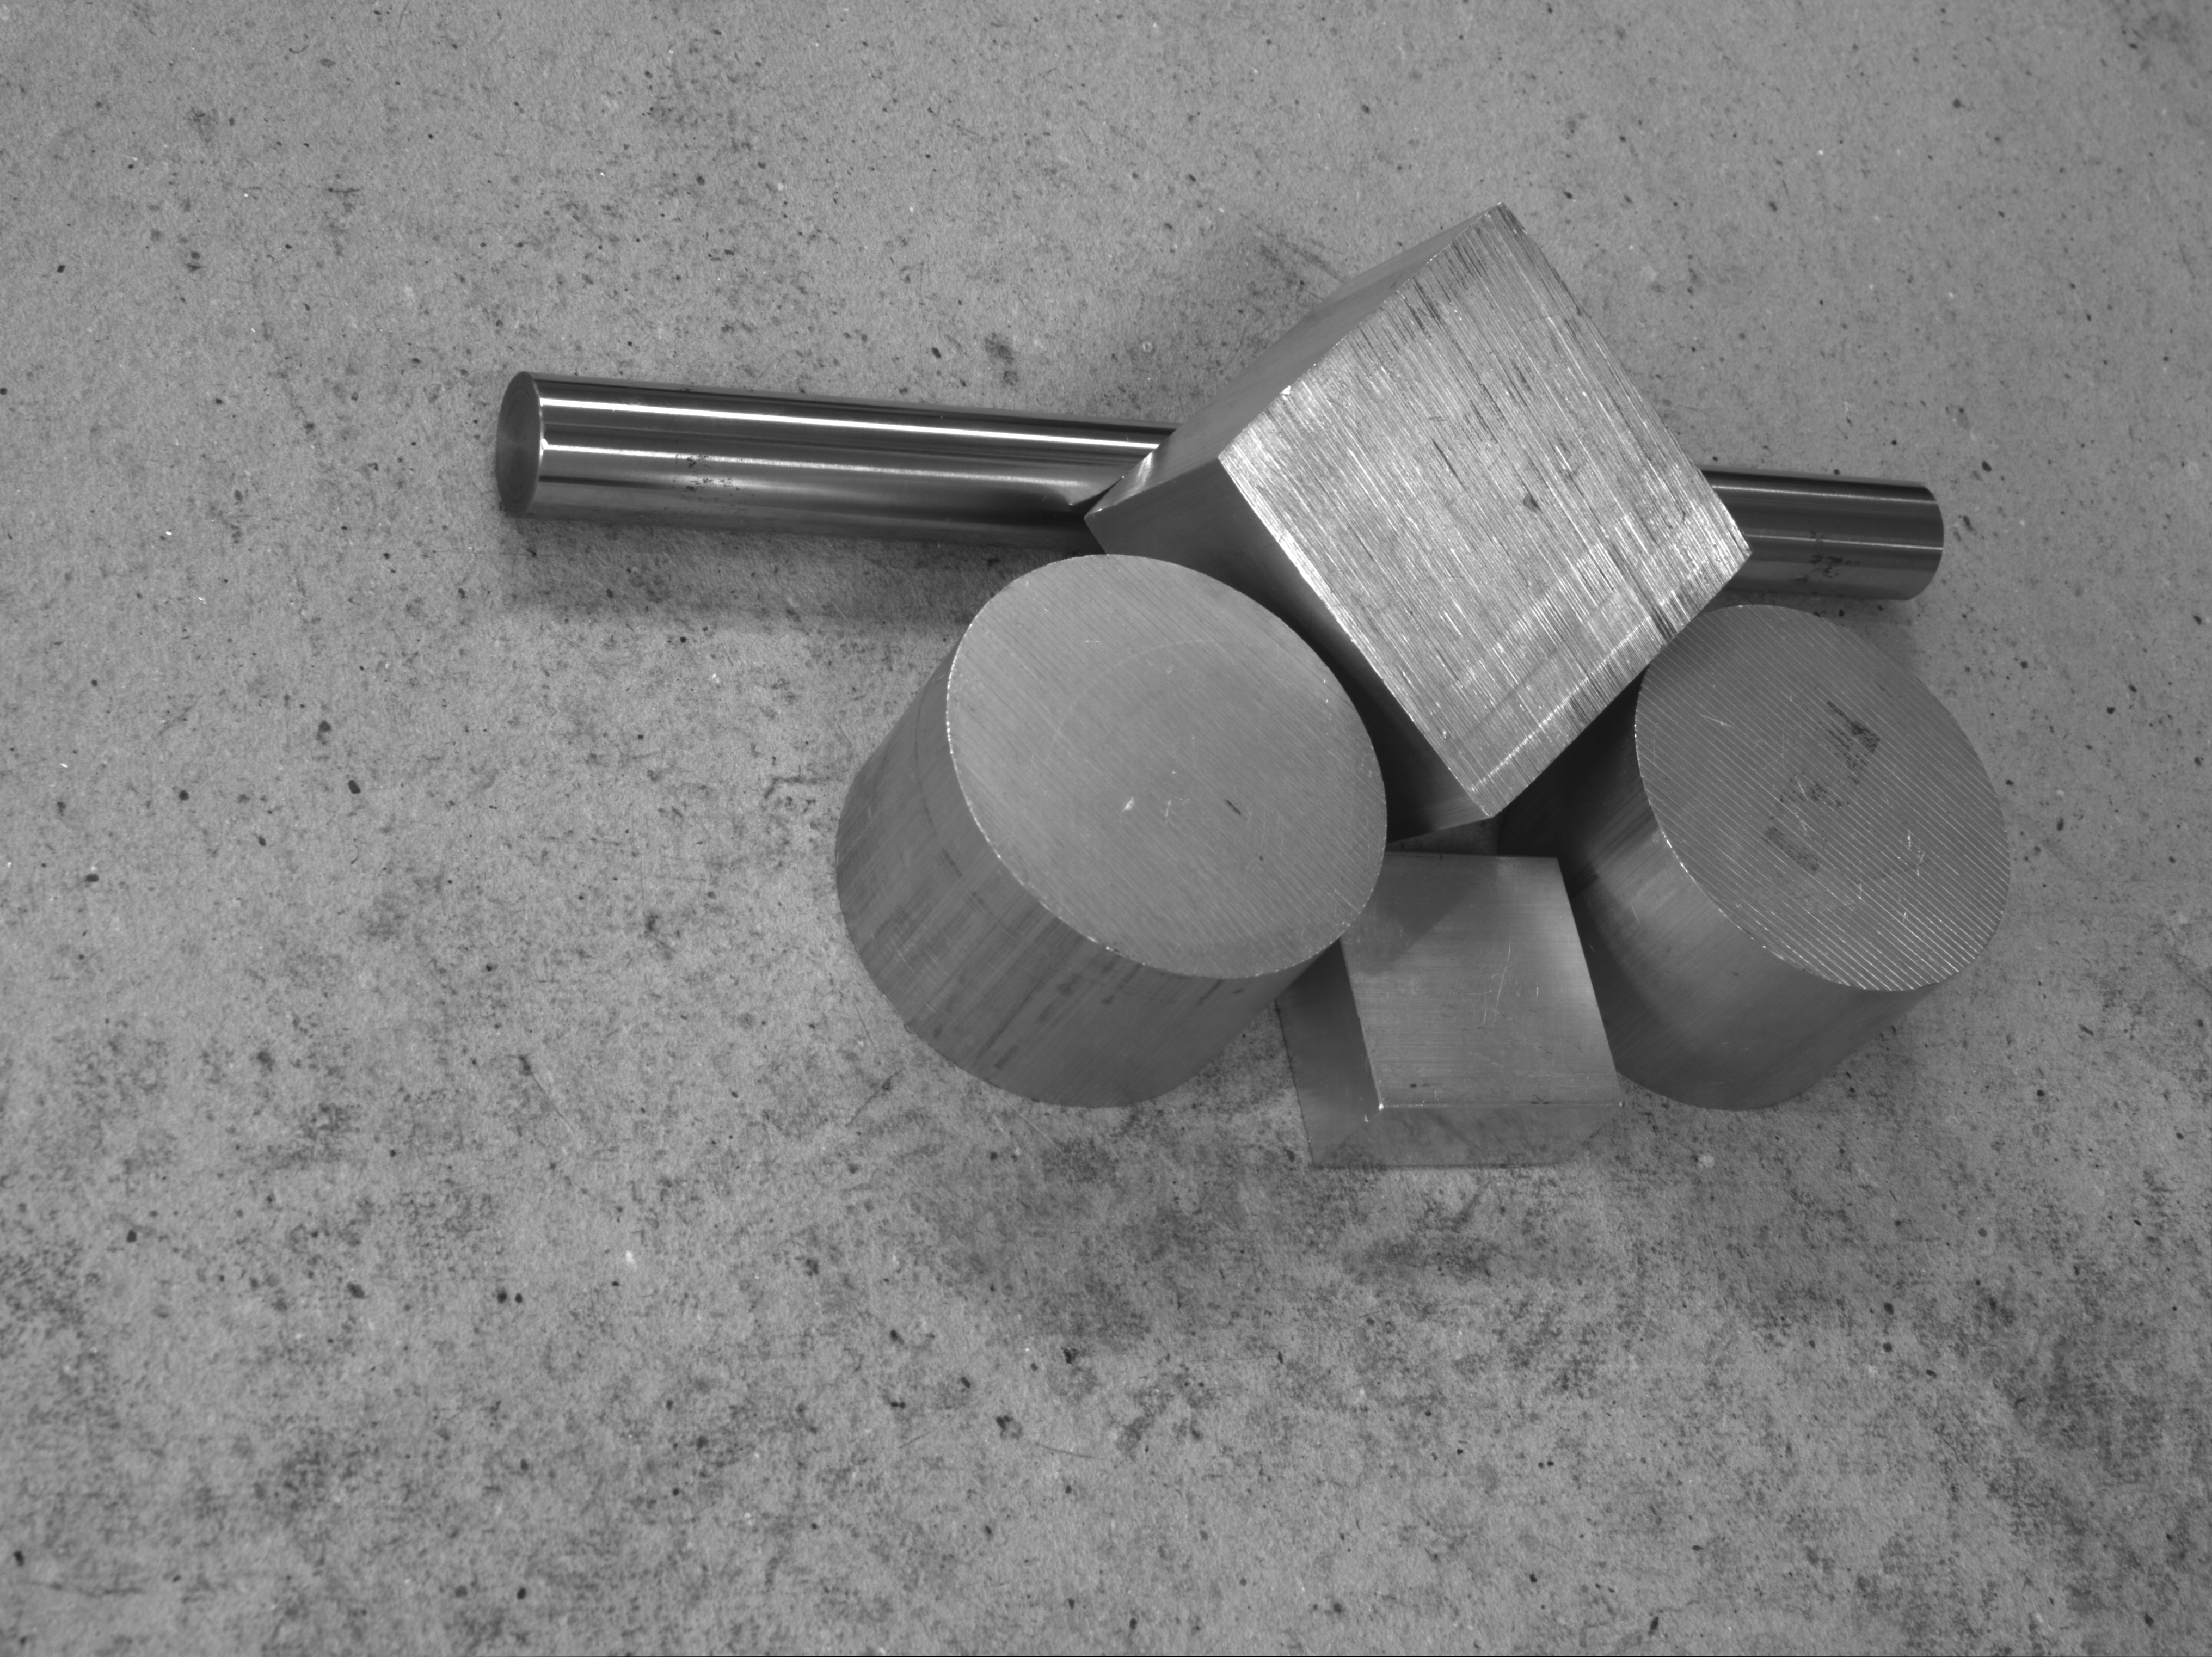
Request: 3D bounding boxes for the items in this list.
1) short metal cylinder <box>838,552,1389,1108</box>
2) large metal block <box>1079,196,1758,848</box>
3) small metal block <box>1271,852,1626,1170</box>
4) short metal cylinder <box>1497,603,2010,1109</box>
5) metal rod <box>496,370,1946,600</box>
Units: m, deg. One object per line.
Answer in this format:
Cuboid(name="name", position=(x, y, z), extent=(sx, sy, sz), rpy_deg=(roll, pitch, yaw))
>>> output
Cuboid(name="short metal cylinder", position=(0.001, 0.000, 0.623), extent=(0.080, 0.050, 0.080), rpy_deg=(13, 56, -21))
Cuboid(name="large metal block", position=(0.057, -0.053, 0.664), extent=(0.080, 0.050, 0.080), rpy_deg=(-43, 103, -26))
Cuboid(name="small metal block", position=(0.059, 0.032, 0.652), extent=(0.050, 0.025, 0.050), rpy_deg=(2, 61, -27))
Cuboid(name="short metal cylinder", position=(0.120, 0.005, 0.684), extent=(0.080, 0.050, 0.080), rpy_deg=(13, 56, -21))
Cuboid(name="metal rod", position=(0.033, -0.063, 0.695), extent=(0.301, 0.025, 0.025), rpy_deg=(1, 61, -28))
